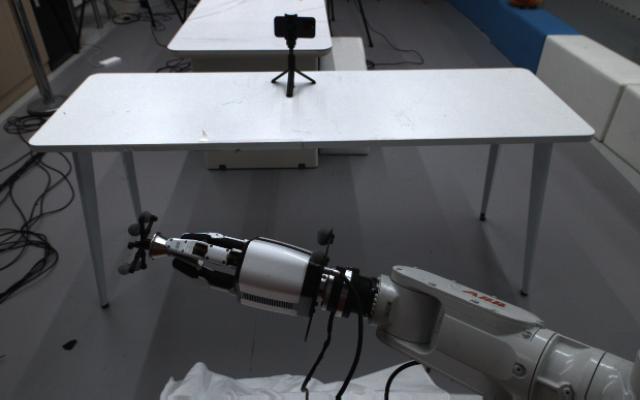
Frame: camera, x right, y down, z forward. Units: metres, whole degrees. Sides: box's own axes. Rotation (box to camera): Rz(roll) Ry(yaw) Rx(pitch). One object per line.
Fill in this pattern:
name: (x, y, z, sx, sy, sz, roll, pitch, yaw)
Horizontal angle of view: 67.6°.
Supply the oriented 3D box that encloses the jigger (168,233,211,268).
jigger: (-0.189, 0.068, 0.668, 0.071, 0.043, 0.043, 11, 35, 1)
